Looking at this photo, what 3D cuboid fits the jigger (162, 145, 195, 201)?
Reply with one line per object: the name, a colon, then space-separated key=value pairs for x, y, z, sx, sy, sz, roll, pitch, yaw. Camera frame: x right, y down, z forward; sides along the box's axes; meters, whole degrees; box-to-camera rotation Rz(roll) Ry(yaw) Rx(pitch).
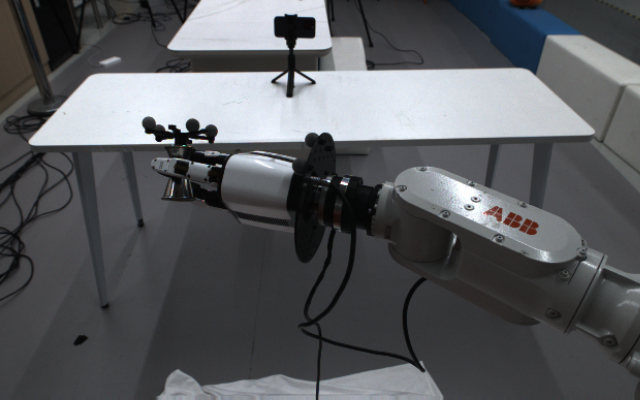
jigger: x=-0.182 y=-0.034 z=0.626 sx=0.043 sy=0.071 sz=0.043 roll=1 pitch=-4 yaw=0
